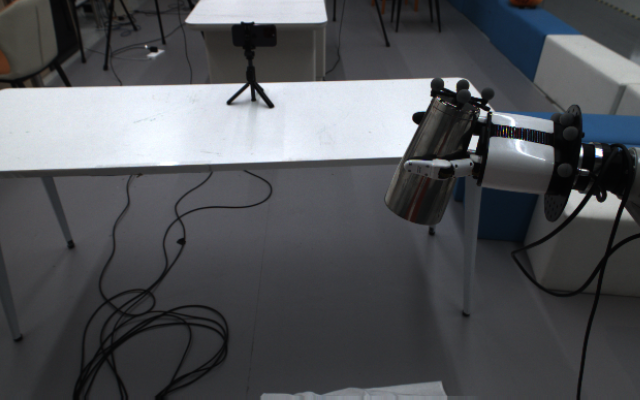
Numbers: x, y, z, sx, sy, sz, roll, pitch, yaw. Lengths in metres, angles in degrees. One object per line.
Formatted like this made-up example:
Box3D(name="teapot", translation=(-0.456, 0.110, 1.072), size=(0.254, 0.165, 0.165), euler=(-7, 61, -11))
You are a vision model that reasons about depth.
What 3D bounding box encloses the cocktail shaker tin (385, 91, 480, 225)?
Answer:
Box3D(name="cocktail shaker tin", translation=(0.164, -0.062, 0.689), size=(0.093, 0.170, 0.093), euler=(12, 29, -7))
